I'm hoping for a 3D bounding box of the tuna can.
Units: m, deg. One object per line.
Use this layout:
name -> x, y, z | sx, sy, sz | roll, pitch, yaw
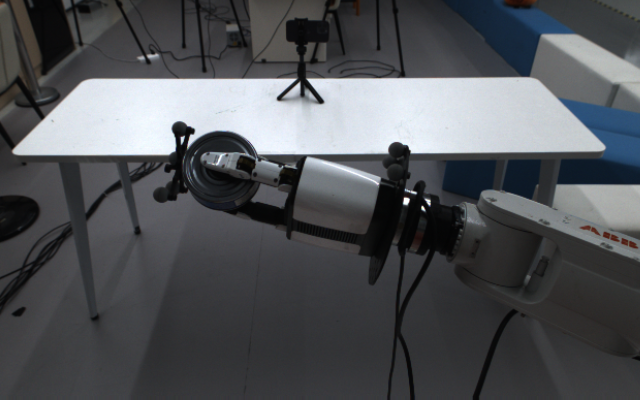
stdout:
tuna can -> -0.107, -0.034, 0.542 | 0.085, 0.034, 0.085 | 1, 73, -4
